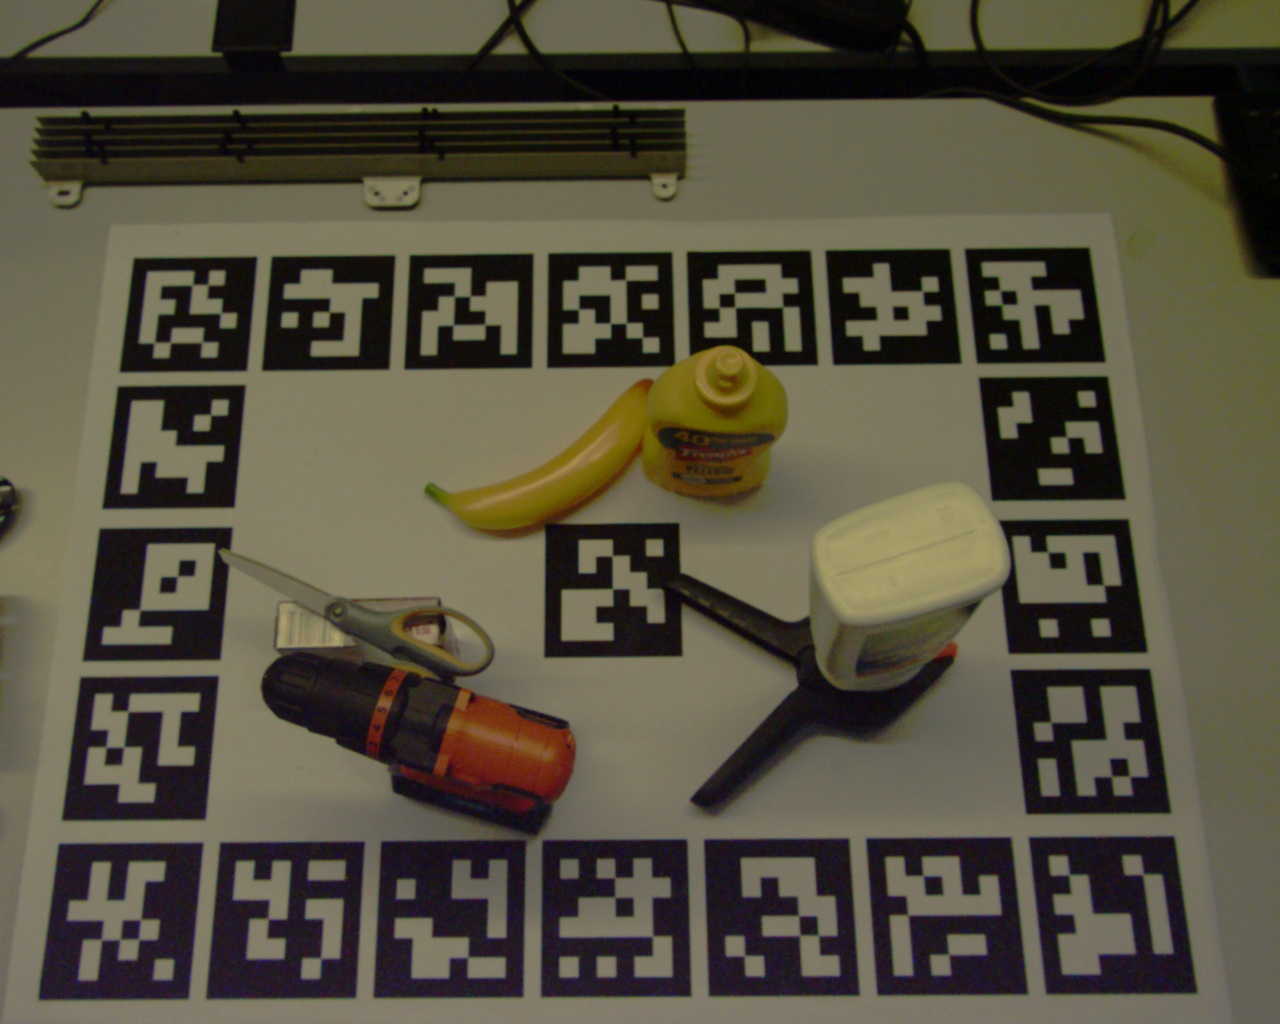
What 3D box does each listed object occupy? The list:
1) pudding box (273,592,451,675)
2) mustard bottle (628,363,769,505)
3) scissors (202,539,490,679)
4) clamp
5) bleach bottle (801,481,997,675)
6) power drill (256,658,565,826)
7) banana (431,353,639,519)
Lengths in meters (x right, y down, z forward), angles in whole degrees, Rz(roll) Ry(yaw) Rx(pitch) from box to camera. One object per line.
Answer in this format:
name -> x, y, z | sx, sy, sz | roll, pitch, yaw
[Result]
pudding box -> -0.197, 0.090, 0.825 | 0.114, 0.090, 0.039 | 3, 67, 0
mustard bottle -> 0.043, -0.059, 0.822 | 0.096, 0.191, 0.058 | 13, 73, 2
scissors -> -0.205, 0.065, 0.766 | 0.203, 0.016, 0.087 | 24, 79, 2
clamp -> 0.118, 0.105, 0.832 | 0.202, 0.036, 0.166 | -7, 75, -3
bleach bottle -> 0.155, 0.060, 0.736 | 0.102, 0.249, 0.068 | -20, 71, 1
power drill -> -0.135, 0.147, 0.728 | 0.185, 0.186, 0.057 | 11, 67, 6
banana -> -0.067, -0.053, 0.888 | 0.197, 0.038, 0.075 | -40, 61, -10
